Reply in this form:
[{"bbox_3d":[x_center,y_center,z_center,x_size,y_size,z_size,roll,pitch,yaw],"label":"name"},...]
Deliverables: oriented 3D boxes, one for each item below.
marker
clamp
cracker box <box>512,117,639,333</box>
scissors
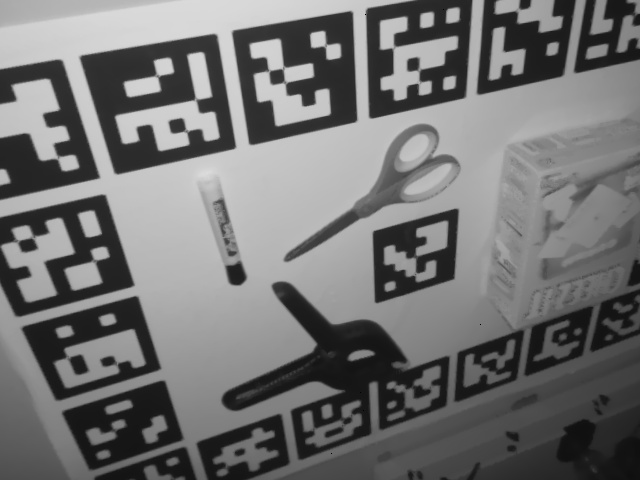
[{"bbox_3d":[-0.065,0.003,0.639,0.020,0.019,0.120,-19,127,-11],"label":"marker"},{"bbox_3d":[0.040,0.132,0.774,0.205,0.036,0.163,12,116,-28],"label":"clamp"},{"bbox_3d":[0.305,-0.016,0.759,0.166,0.072,0.212,-15,125,-14],"label":"cracker box"},{"bbox_3d":[0.069,-0.032,0.677,0.202,0.016,0.088,-38,129,5],"label":"scissors"}]
